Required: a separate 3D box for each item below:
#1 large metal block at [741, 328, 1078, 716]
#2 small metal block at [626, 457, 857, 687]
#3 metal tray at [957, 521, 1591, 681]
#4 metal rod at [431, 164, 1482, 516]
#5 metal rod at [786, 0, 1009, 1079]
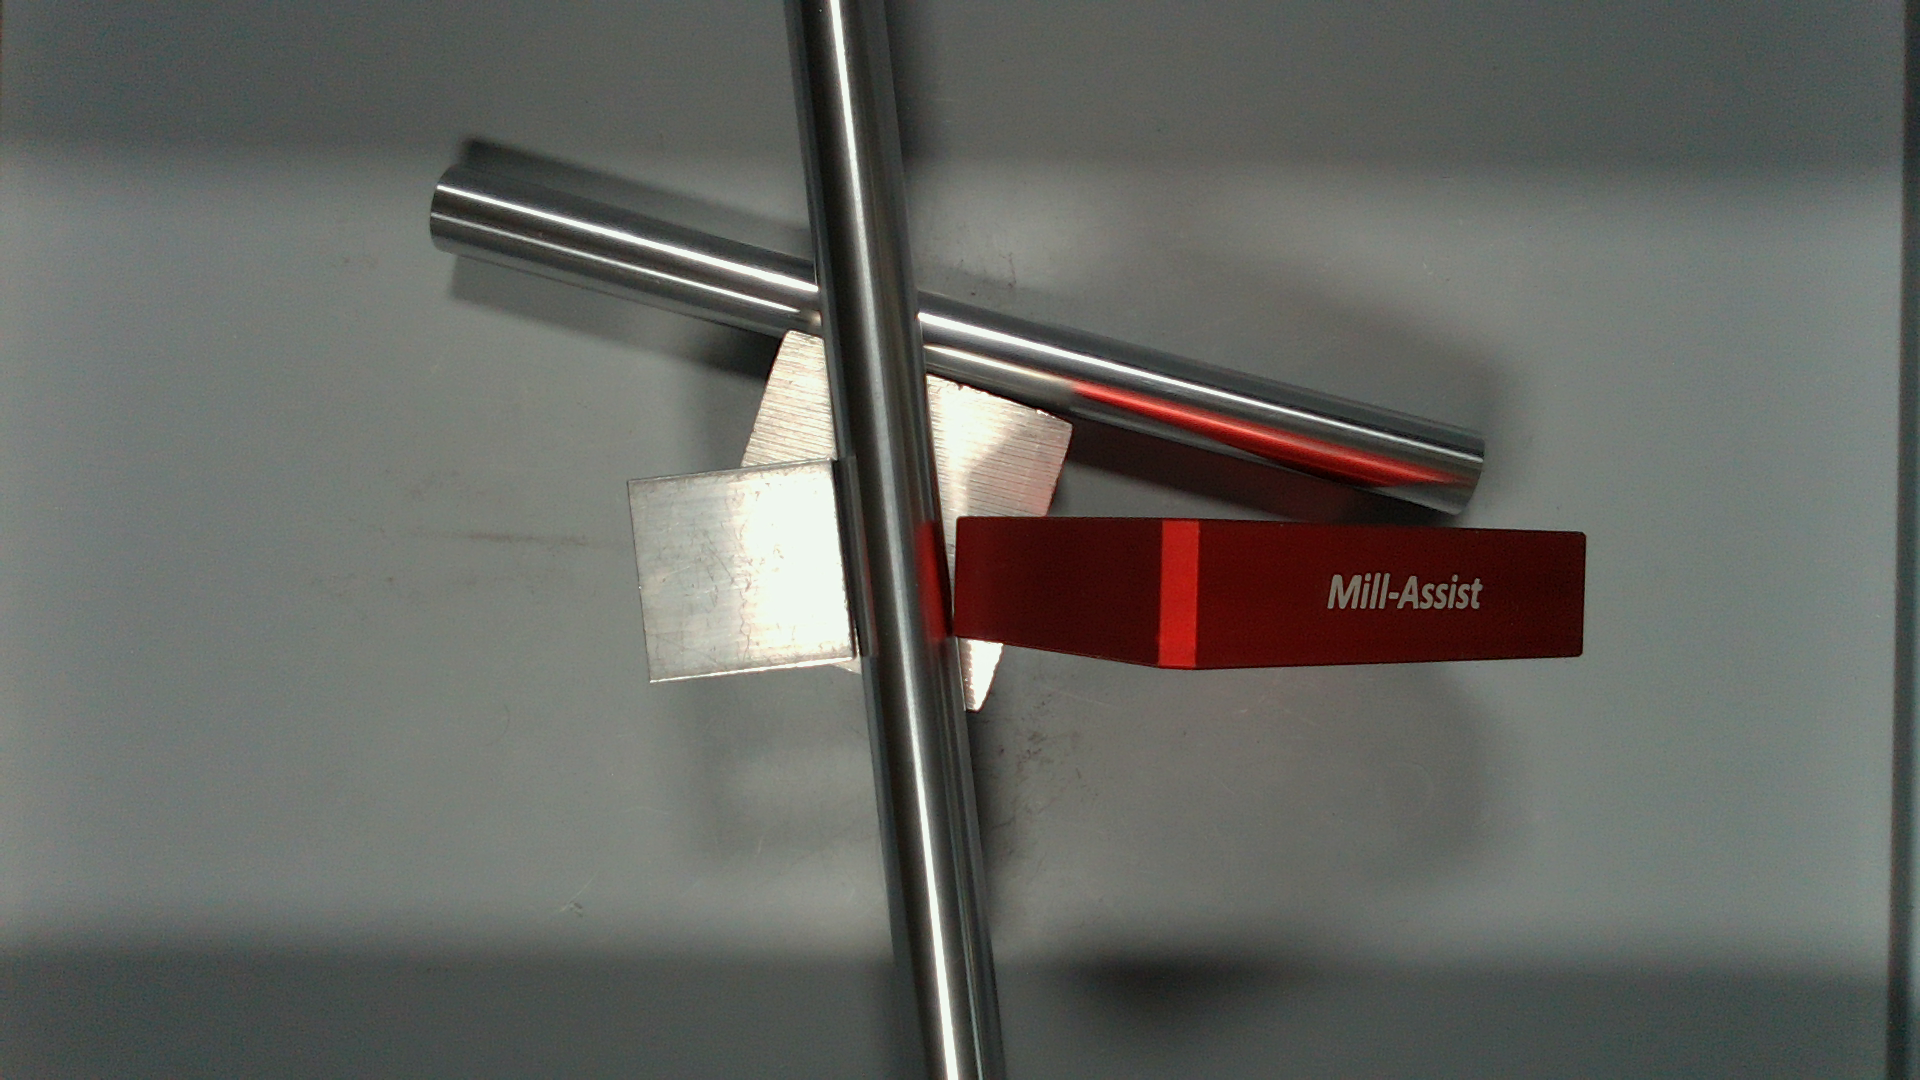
[{"bbox_3d":[-0.020,-0.005,0.382,0.080,0.050,0.080,18,90,0],"label":"large metal block"},{"bbox_3d":[-0.053,0.008,0.344,0.050,0.025,0.050,-7,90,0],"label":"small metal block"},{"bbox_3d":[0.076,0.012,0.336,0.130,0.090,0.030,1,91,-31],"label":"metal tray"},{"bbox_3d":[-0.001,-0.057,0.395,0.300,0.025,0.025,15,90,0],"label":"metal rod"},{"bbox_3d":[-0.016,-0.003,0.344,0.025,0.025,0.300,-7,90,0],"label":"metal rod"}]
